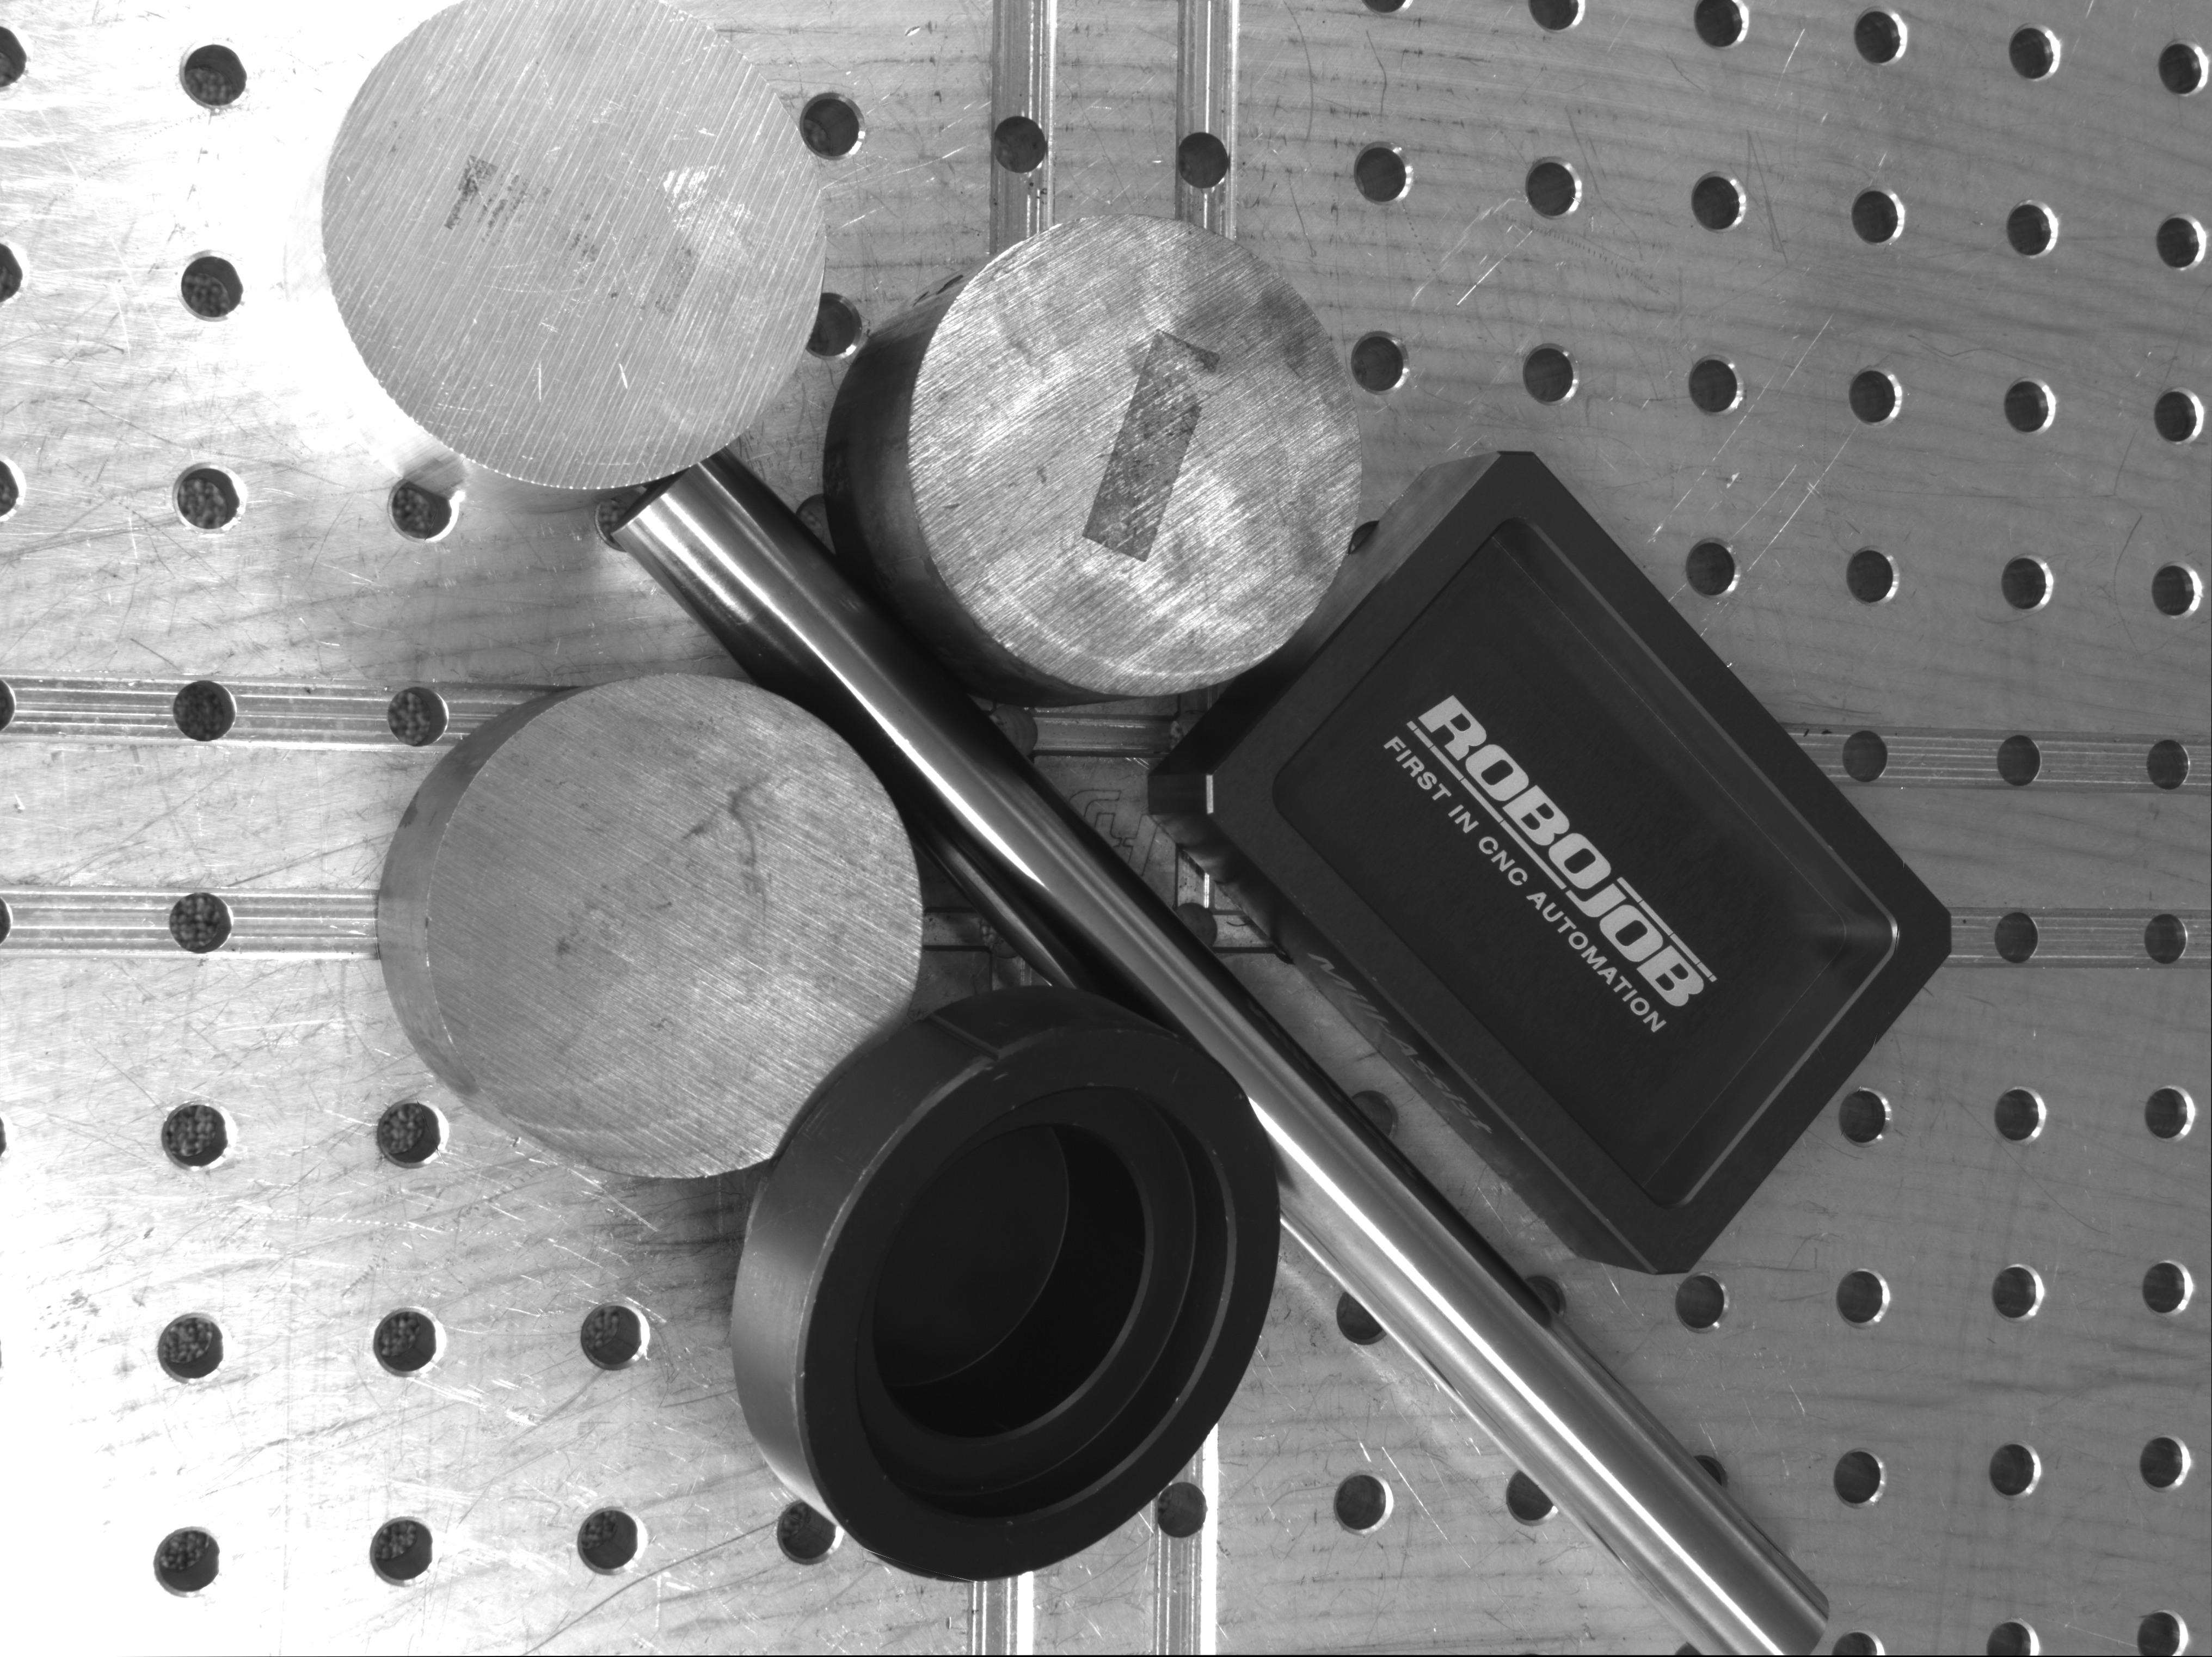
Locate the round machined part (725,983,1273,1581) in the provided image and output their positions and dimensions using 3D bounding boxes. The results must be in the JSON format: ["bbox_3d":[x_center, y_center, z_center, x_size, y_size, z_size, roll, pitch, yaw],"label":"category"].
[{"bbox_3d":[-0.022,0.073,0.617,0.098,0.042,0.098,-14,113,-35],"label":"round machined part"}]

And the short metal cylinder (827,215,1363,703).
[{"bbox_3d":[-0.003,-0.061,0.630,0.080,0.050,0.080,0,90,-20],"label":"short metal cylinder"}]

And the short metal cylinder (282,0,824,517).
[{"bbox_3d":[-0.091,-0.093,0.599,0.080,0.050,0.080,0,90,-20],"label":"short metal cylinder"}]

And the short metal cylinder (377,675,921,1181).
[{"bbox_3d":[-0.076,0.016,0.604,0.080,0.050,0.080,0,90,-20],"label":"short metal cylinder"}]

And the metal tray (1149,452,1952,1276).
[{"bbox_3d":[0.083,0.007,0.672,0.130,0.030,0.090,46,77,-14],"label":"metal tray"}]

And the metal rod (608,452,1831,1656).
[{"bbox_3d":[0.026,0.047,0.655,0.300,0.025,0.025,46,76,-14],"label":"metal rod"}]
